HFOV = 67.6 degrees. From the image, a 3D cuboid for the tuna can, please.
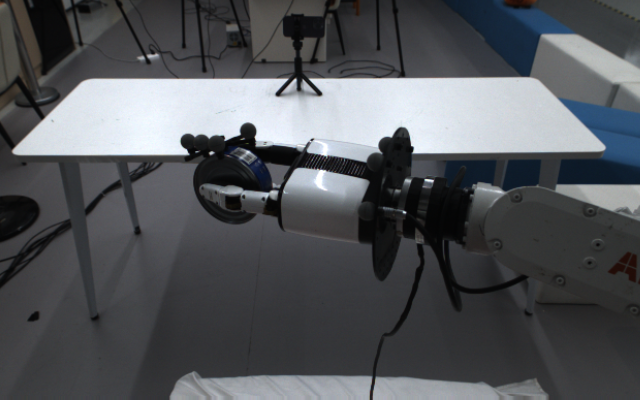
[{"bbox_3d":[-0.095,-0.013,0.551,0.085,0.085,0.034,13,29,15],"label":"tuna can"}]
